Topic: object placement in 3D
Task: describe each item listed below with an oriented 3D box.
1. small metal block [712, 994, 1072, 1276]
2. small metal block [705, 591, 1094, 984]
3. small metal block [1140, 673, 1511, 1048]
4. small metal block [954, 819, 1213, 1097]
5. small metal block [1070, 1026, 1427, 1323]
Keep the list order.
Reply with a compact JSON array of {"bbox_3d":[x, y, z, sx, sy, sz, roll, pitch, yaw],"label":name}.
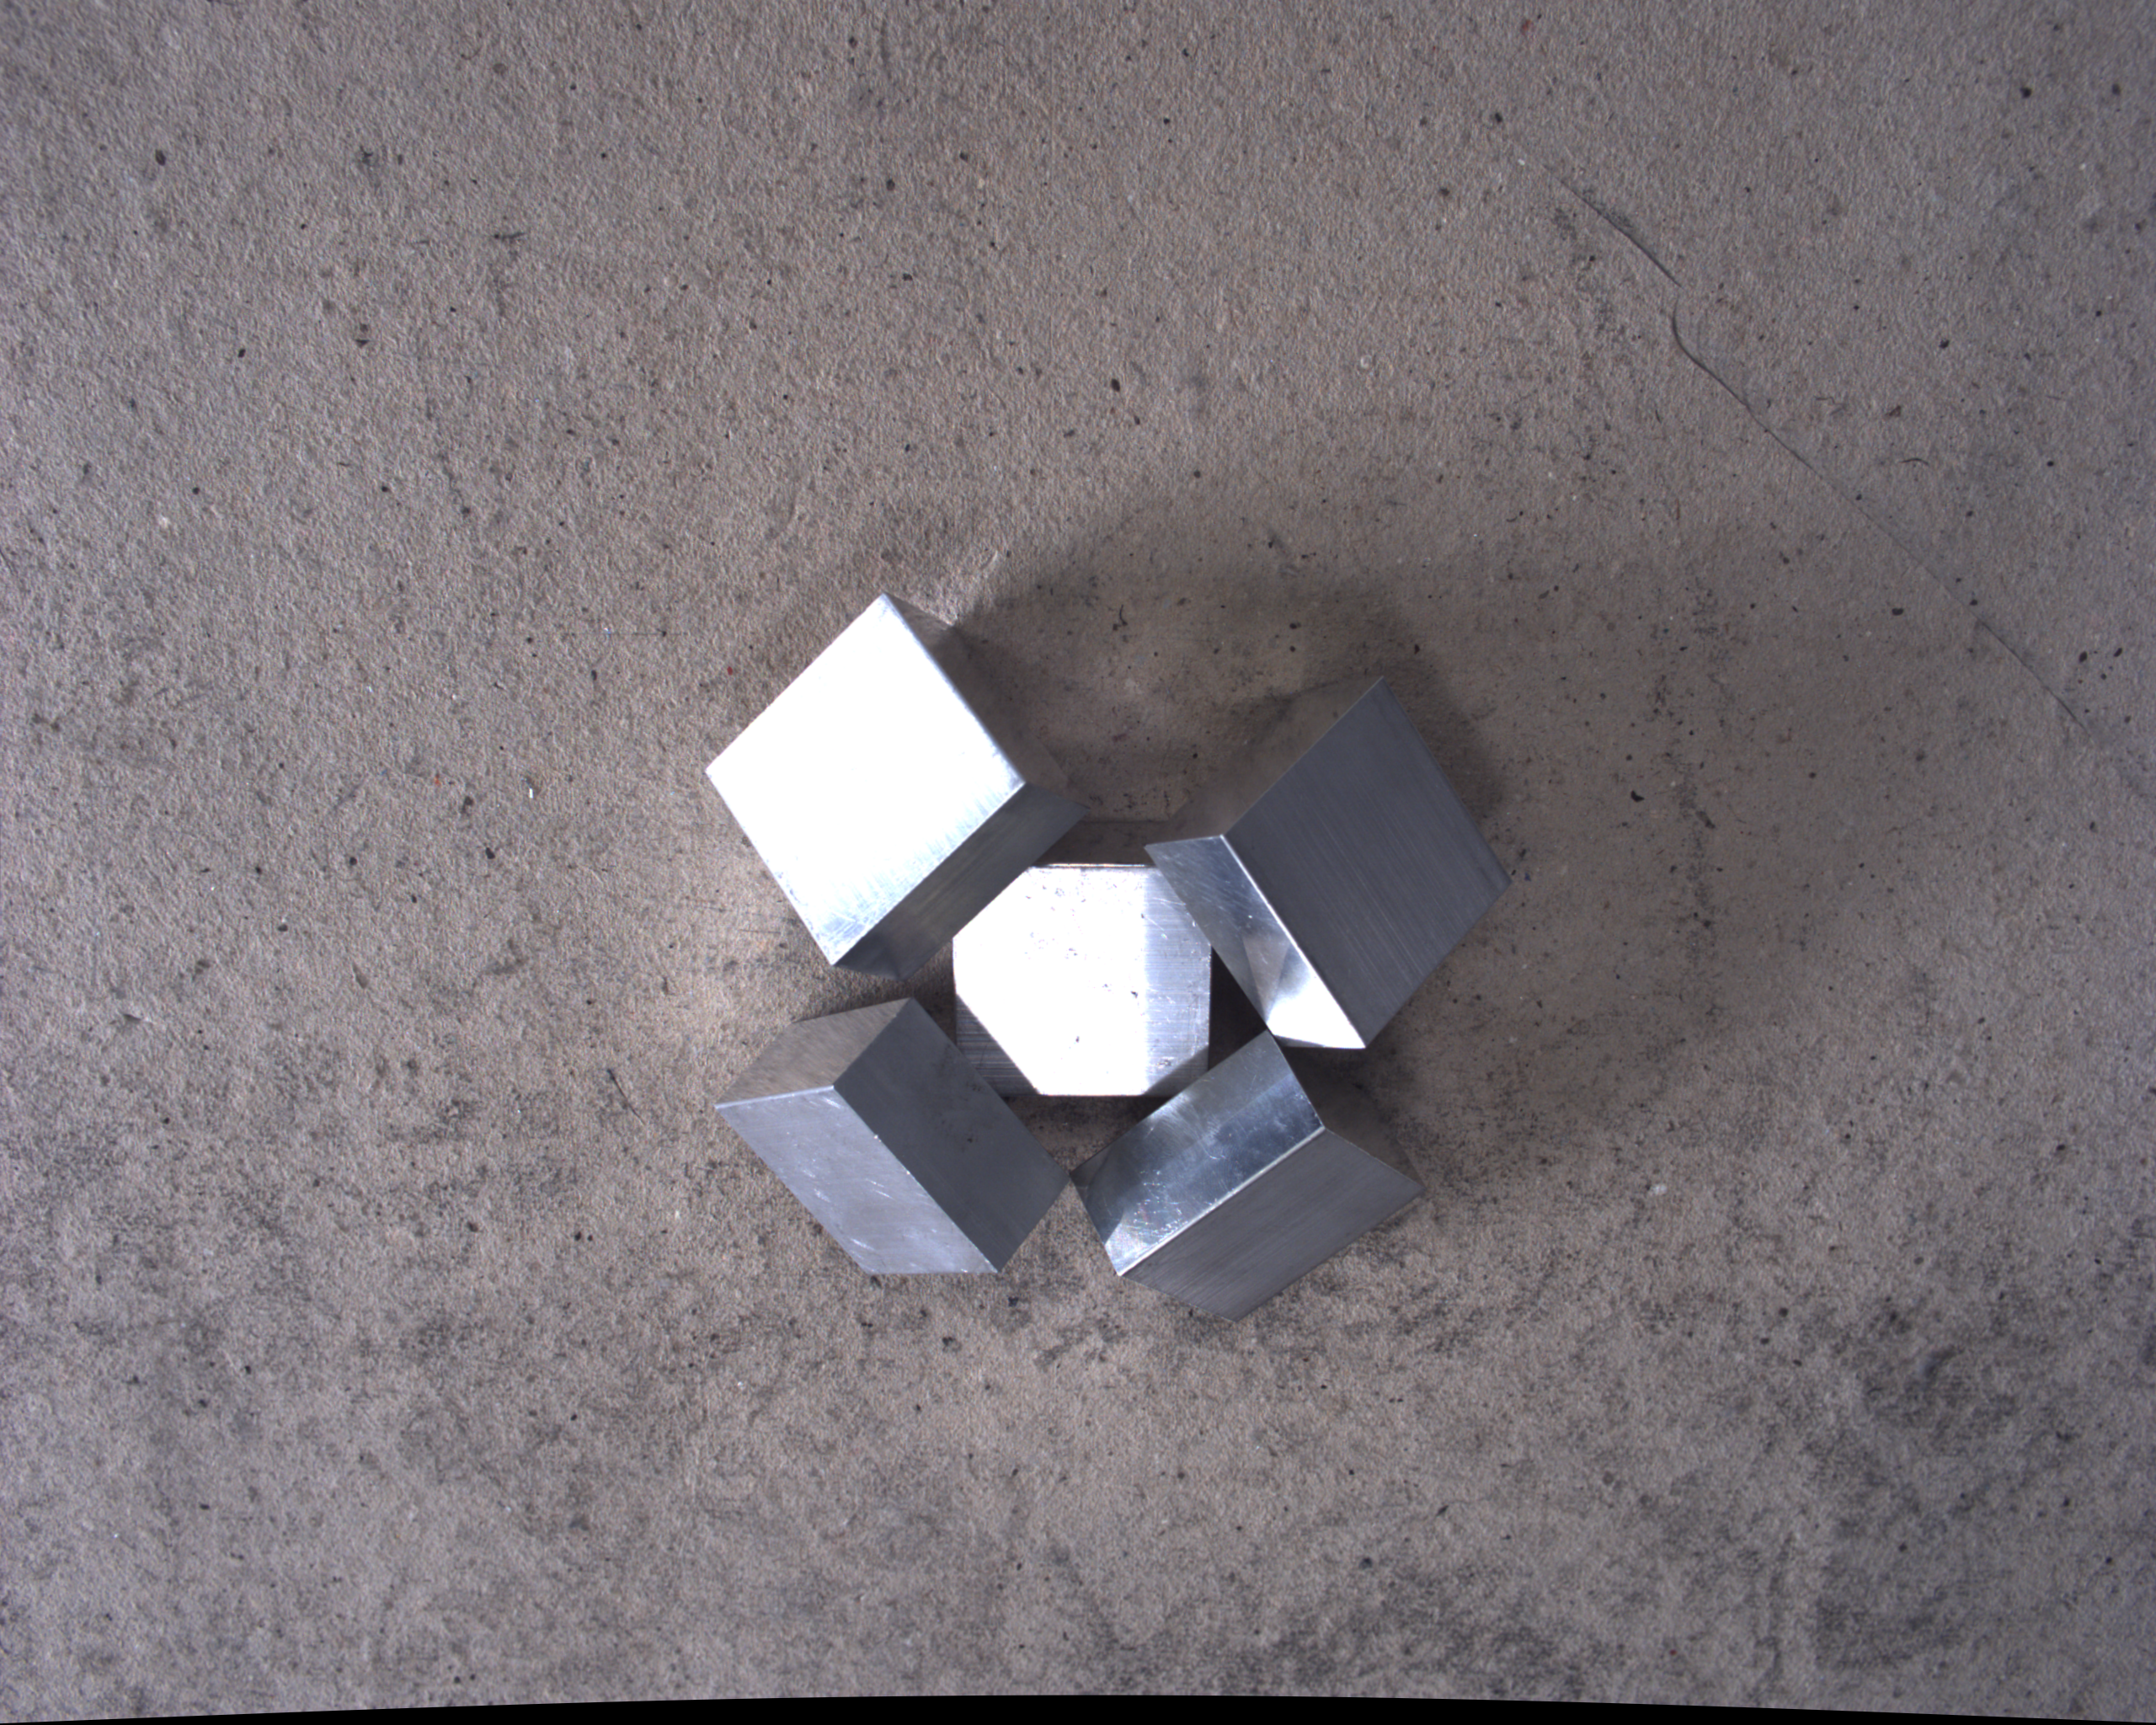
[{"bbox_3d":[-0.038,0.056,0.417,0.050,0.025,0.050,51,146,-16],"label":"small metal block"},{"bbox_3d":[-0.034,-0.014,0.392,0.050,0.025,0.050,-43,63,13],"label":"small metal block"},{"bbox_3d":[0.048,0.000,0.398,0.050,0.025,0.050,-44,110,-28],"label":"small metal block"},{"bbox_3d":[0.001,0.019,0.418,0.050,0.025,0.050,-1,110,-1],"label":"small metal block"},{"bbox_3d":[0.035,0.064,0.422,0.050,0.025,0.050,-38,144,13],"label":"small metal block"}]
